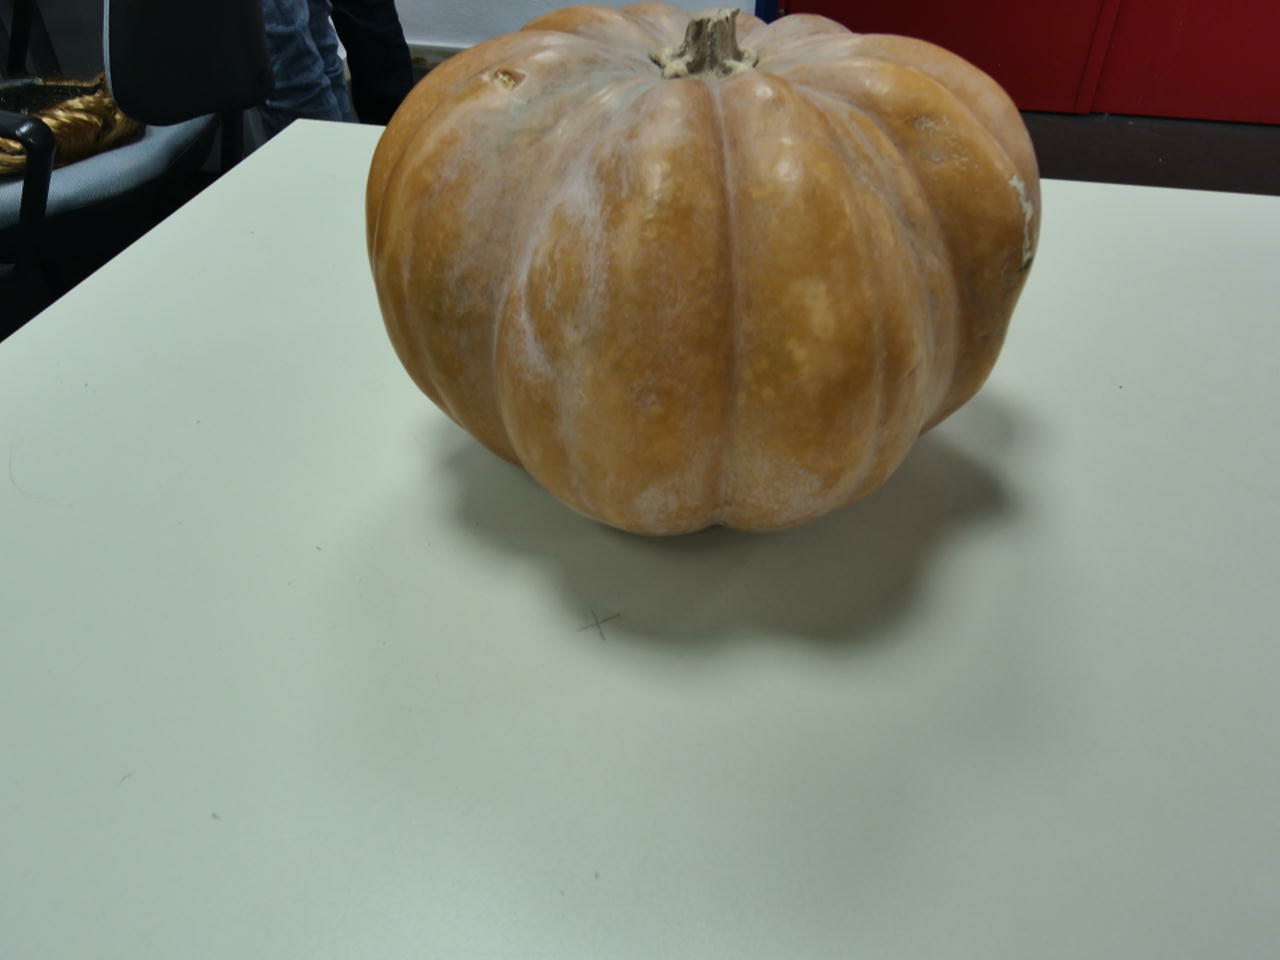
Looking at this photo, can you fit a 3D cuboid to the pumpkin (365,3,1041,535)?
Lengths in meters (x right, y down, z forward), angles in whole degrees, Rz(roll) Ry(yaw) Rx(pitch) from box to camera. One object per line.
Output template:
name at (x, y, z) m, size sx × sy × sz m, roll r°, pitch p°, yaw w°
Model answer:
pumpkin at (0.023, -0.095, 0.412) m, size 0.277 × 0.181 × 0.277 m, roll 0°, pitch 38°, yaw 0°
